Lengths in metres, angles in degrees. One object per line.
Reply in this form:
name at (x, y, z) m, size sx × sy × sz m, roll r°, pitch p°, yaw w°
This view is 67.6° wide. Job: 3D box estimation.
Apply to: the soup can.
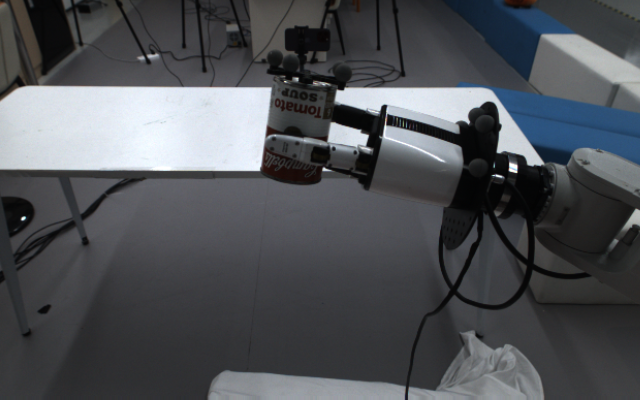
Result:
soup can at (-0.022, -0.075, 0.512) m, size 0.067 × 0.101 × 0.067 m, roll 9°, pitch 20°, yaw -3°
